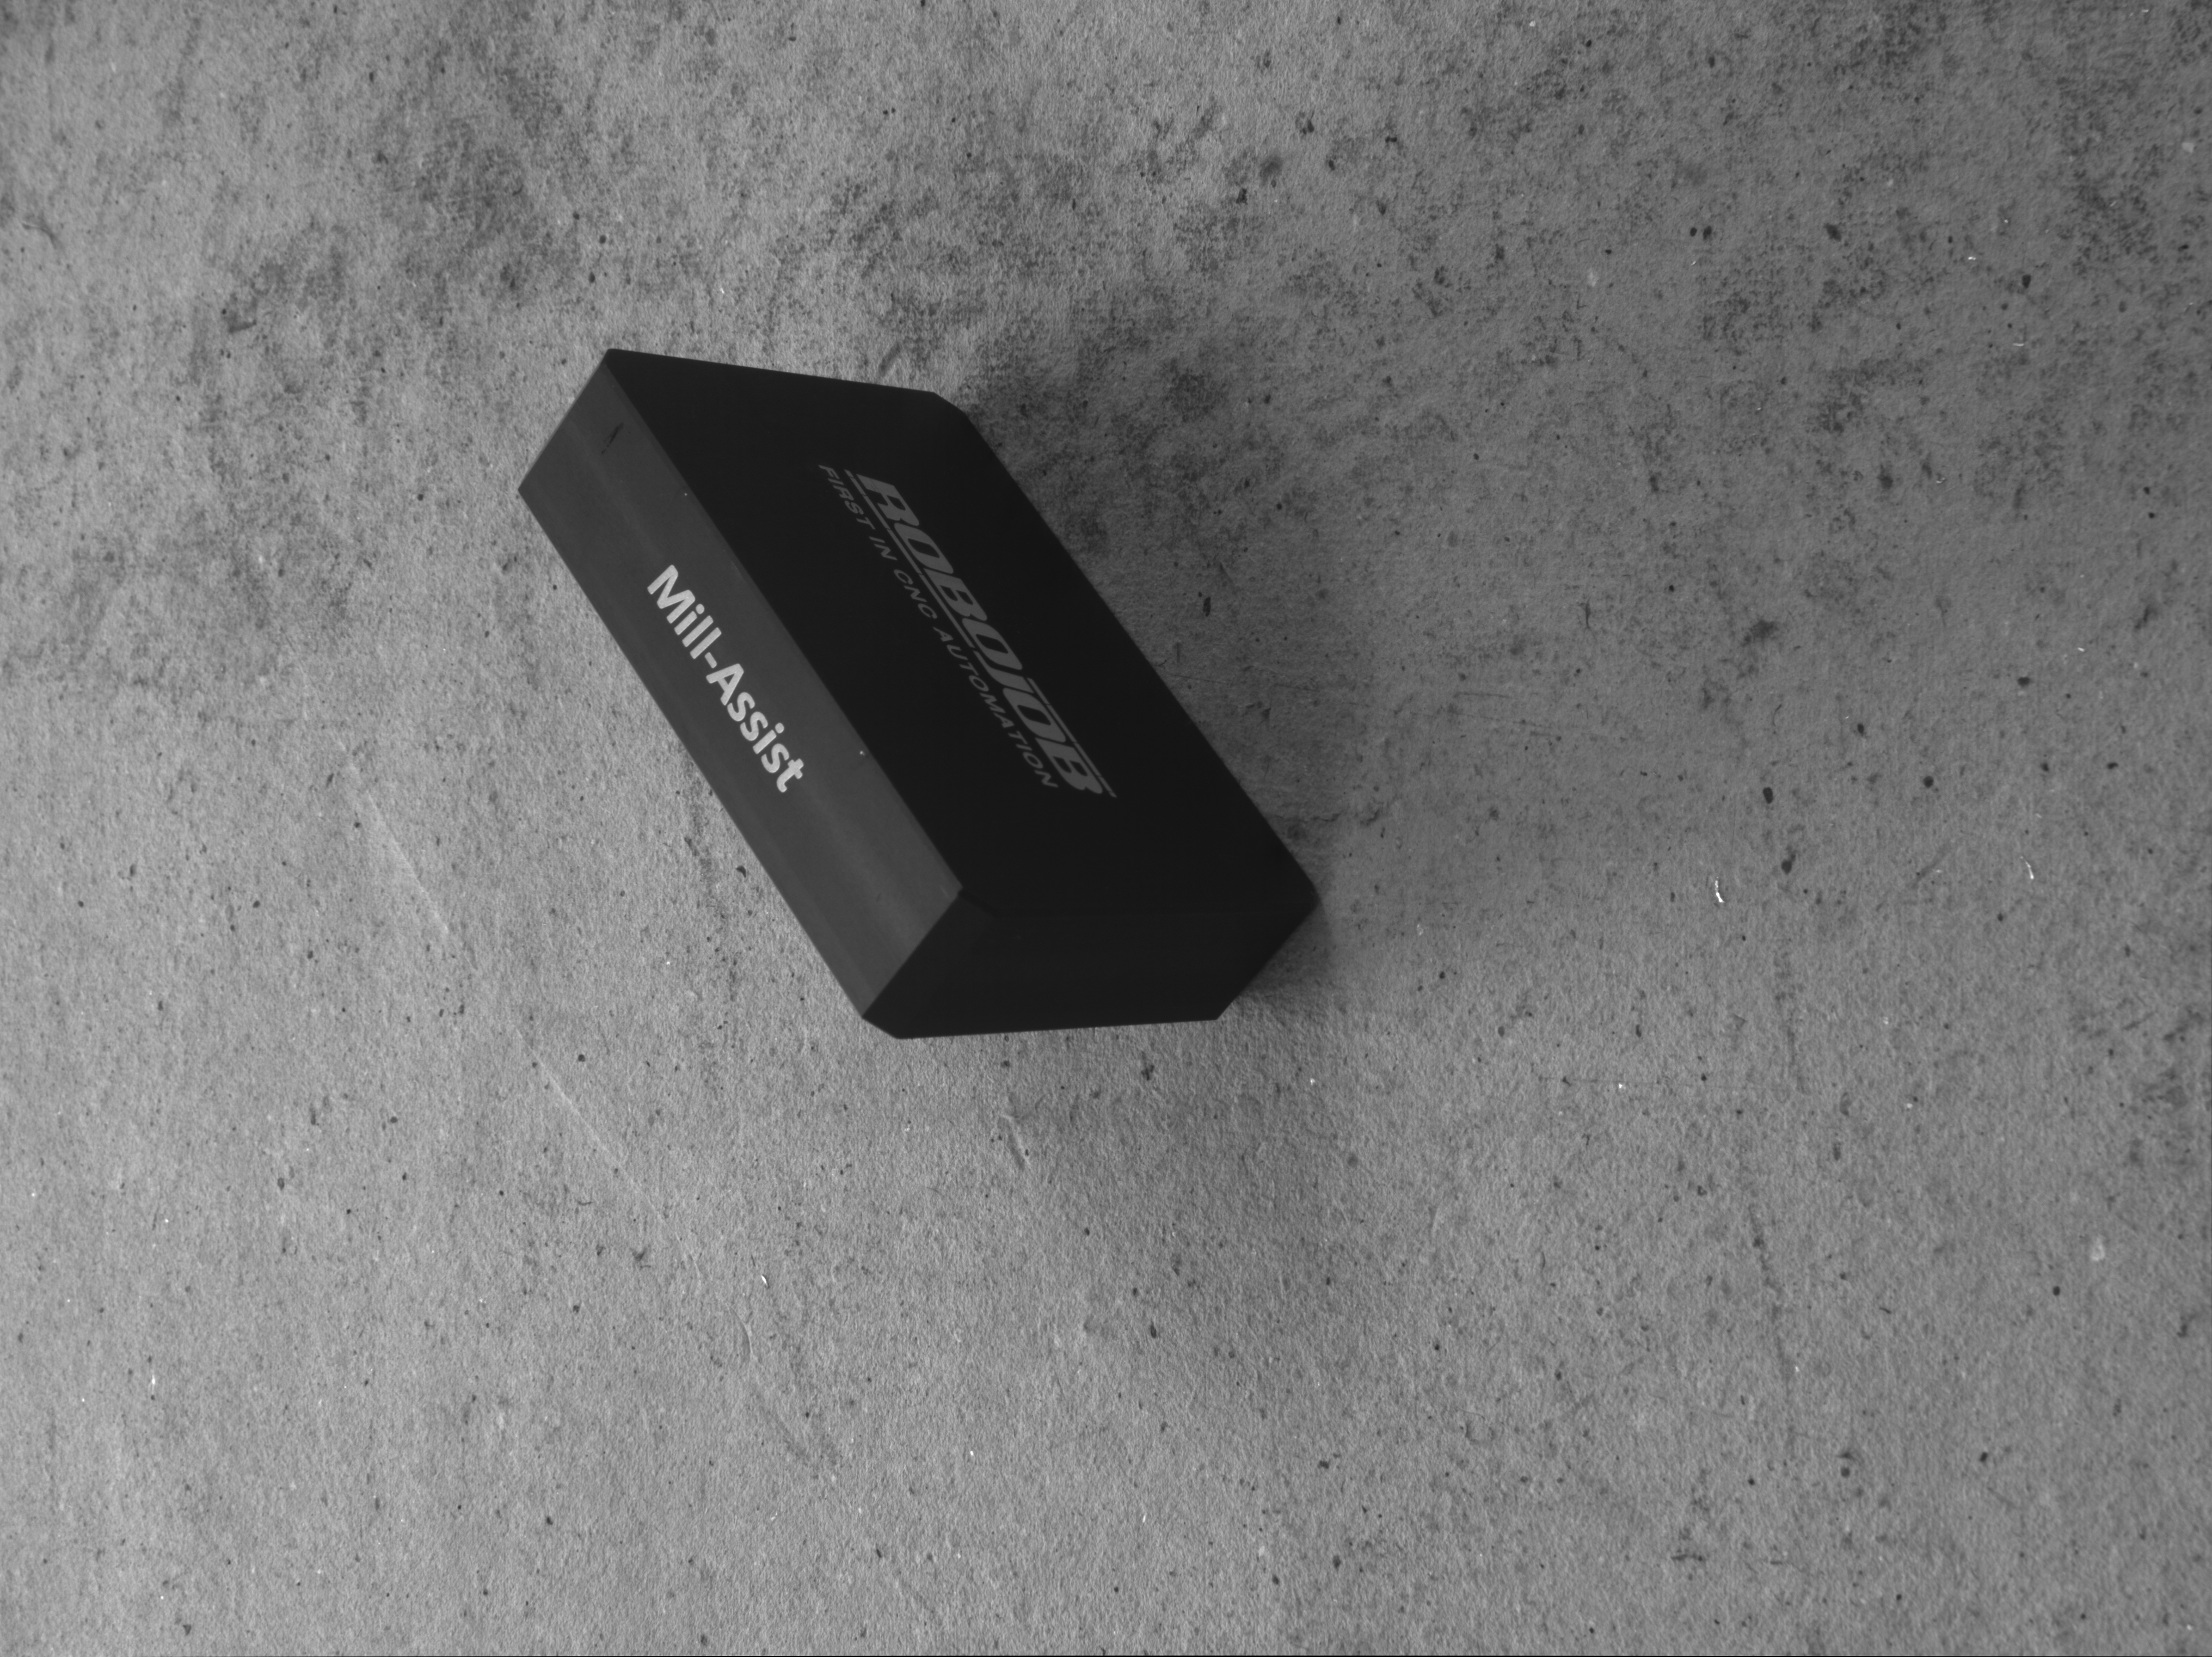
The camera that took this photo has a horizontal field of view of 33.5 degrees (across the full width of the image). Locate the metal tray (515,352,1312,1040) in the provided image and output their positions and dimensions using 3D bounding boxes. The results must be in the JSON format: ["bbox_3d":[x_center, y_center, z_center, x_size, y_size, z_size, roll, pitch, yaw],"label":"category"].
[{"bbox_3d":[-0.033,-0.024,0.631,0.030,0.090,0.130,-51,60,28],"label":"metal tray"}]
